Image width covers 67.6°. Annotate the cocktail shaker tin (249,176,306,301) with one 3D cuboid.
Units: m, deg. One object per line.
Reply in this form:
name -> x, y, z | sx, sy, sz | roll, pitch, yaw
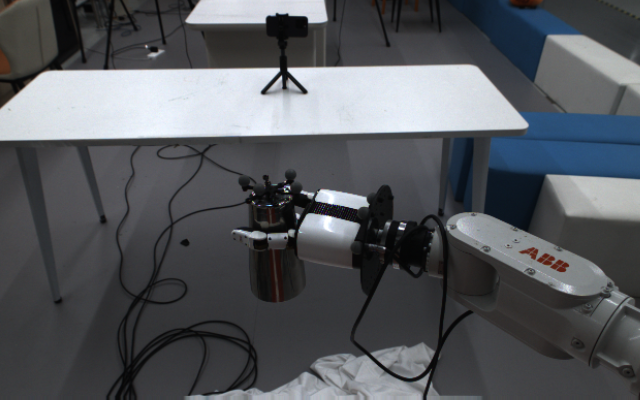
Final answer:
cocktail shaker tin -> -0.067, 0.062, 0.755 | 0.093, 0.170, 0.093 | -1, 32, 1
